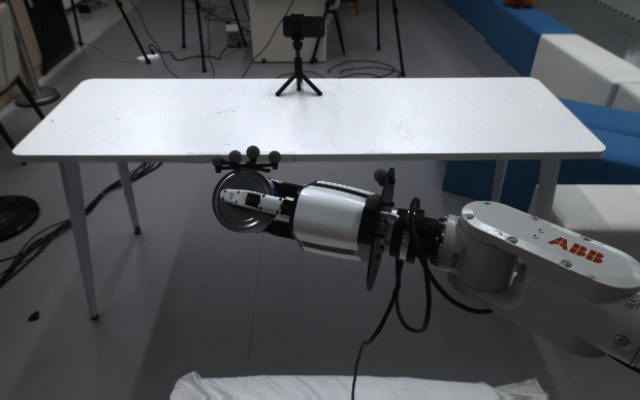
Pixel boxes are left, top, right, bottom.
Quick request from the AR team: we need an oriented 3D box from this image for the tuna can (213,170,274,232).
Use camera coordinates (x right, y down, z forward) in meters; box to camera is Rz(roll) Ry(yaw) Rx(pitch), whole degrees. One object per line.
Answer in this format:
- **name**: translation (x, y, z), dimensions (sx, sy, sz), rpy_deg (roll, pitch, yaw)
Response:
- **tuna can**: translation (-0.094, 0.003, 0.652), dimensions (0.085, 0.085, 0.034), rpy_deg (10, -6, 11)
